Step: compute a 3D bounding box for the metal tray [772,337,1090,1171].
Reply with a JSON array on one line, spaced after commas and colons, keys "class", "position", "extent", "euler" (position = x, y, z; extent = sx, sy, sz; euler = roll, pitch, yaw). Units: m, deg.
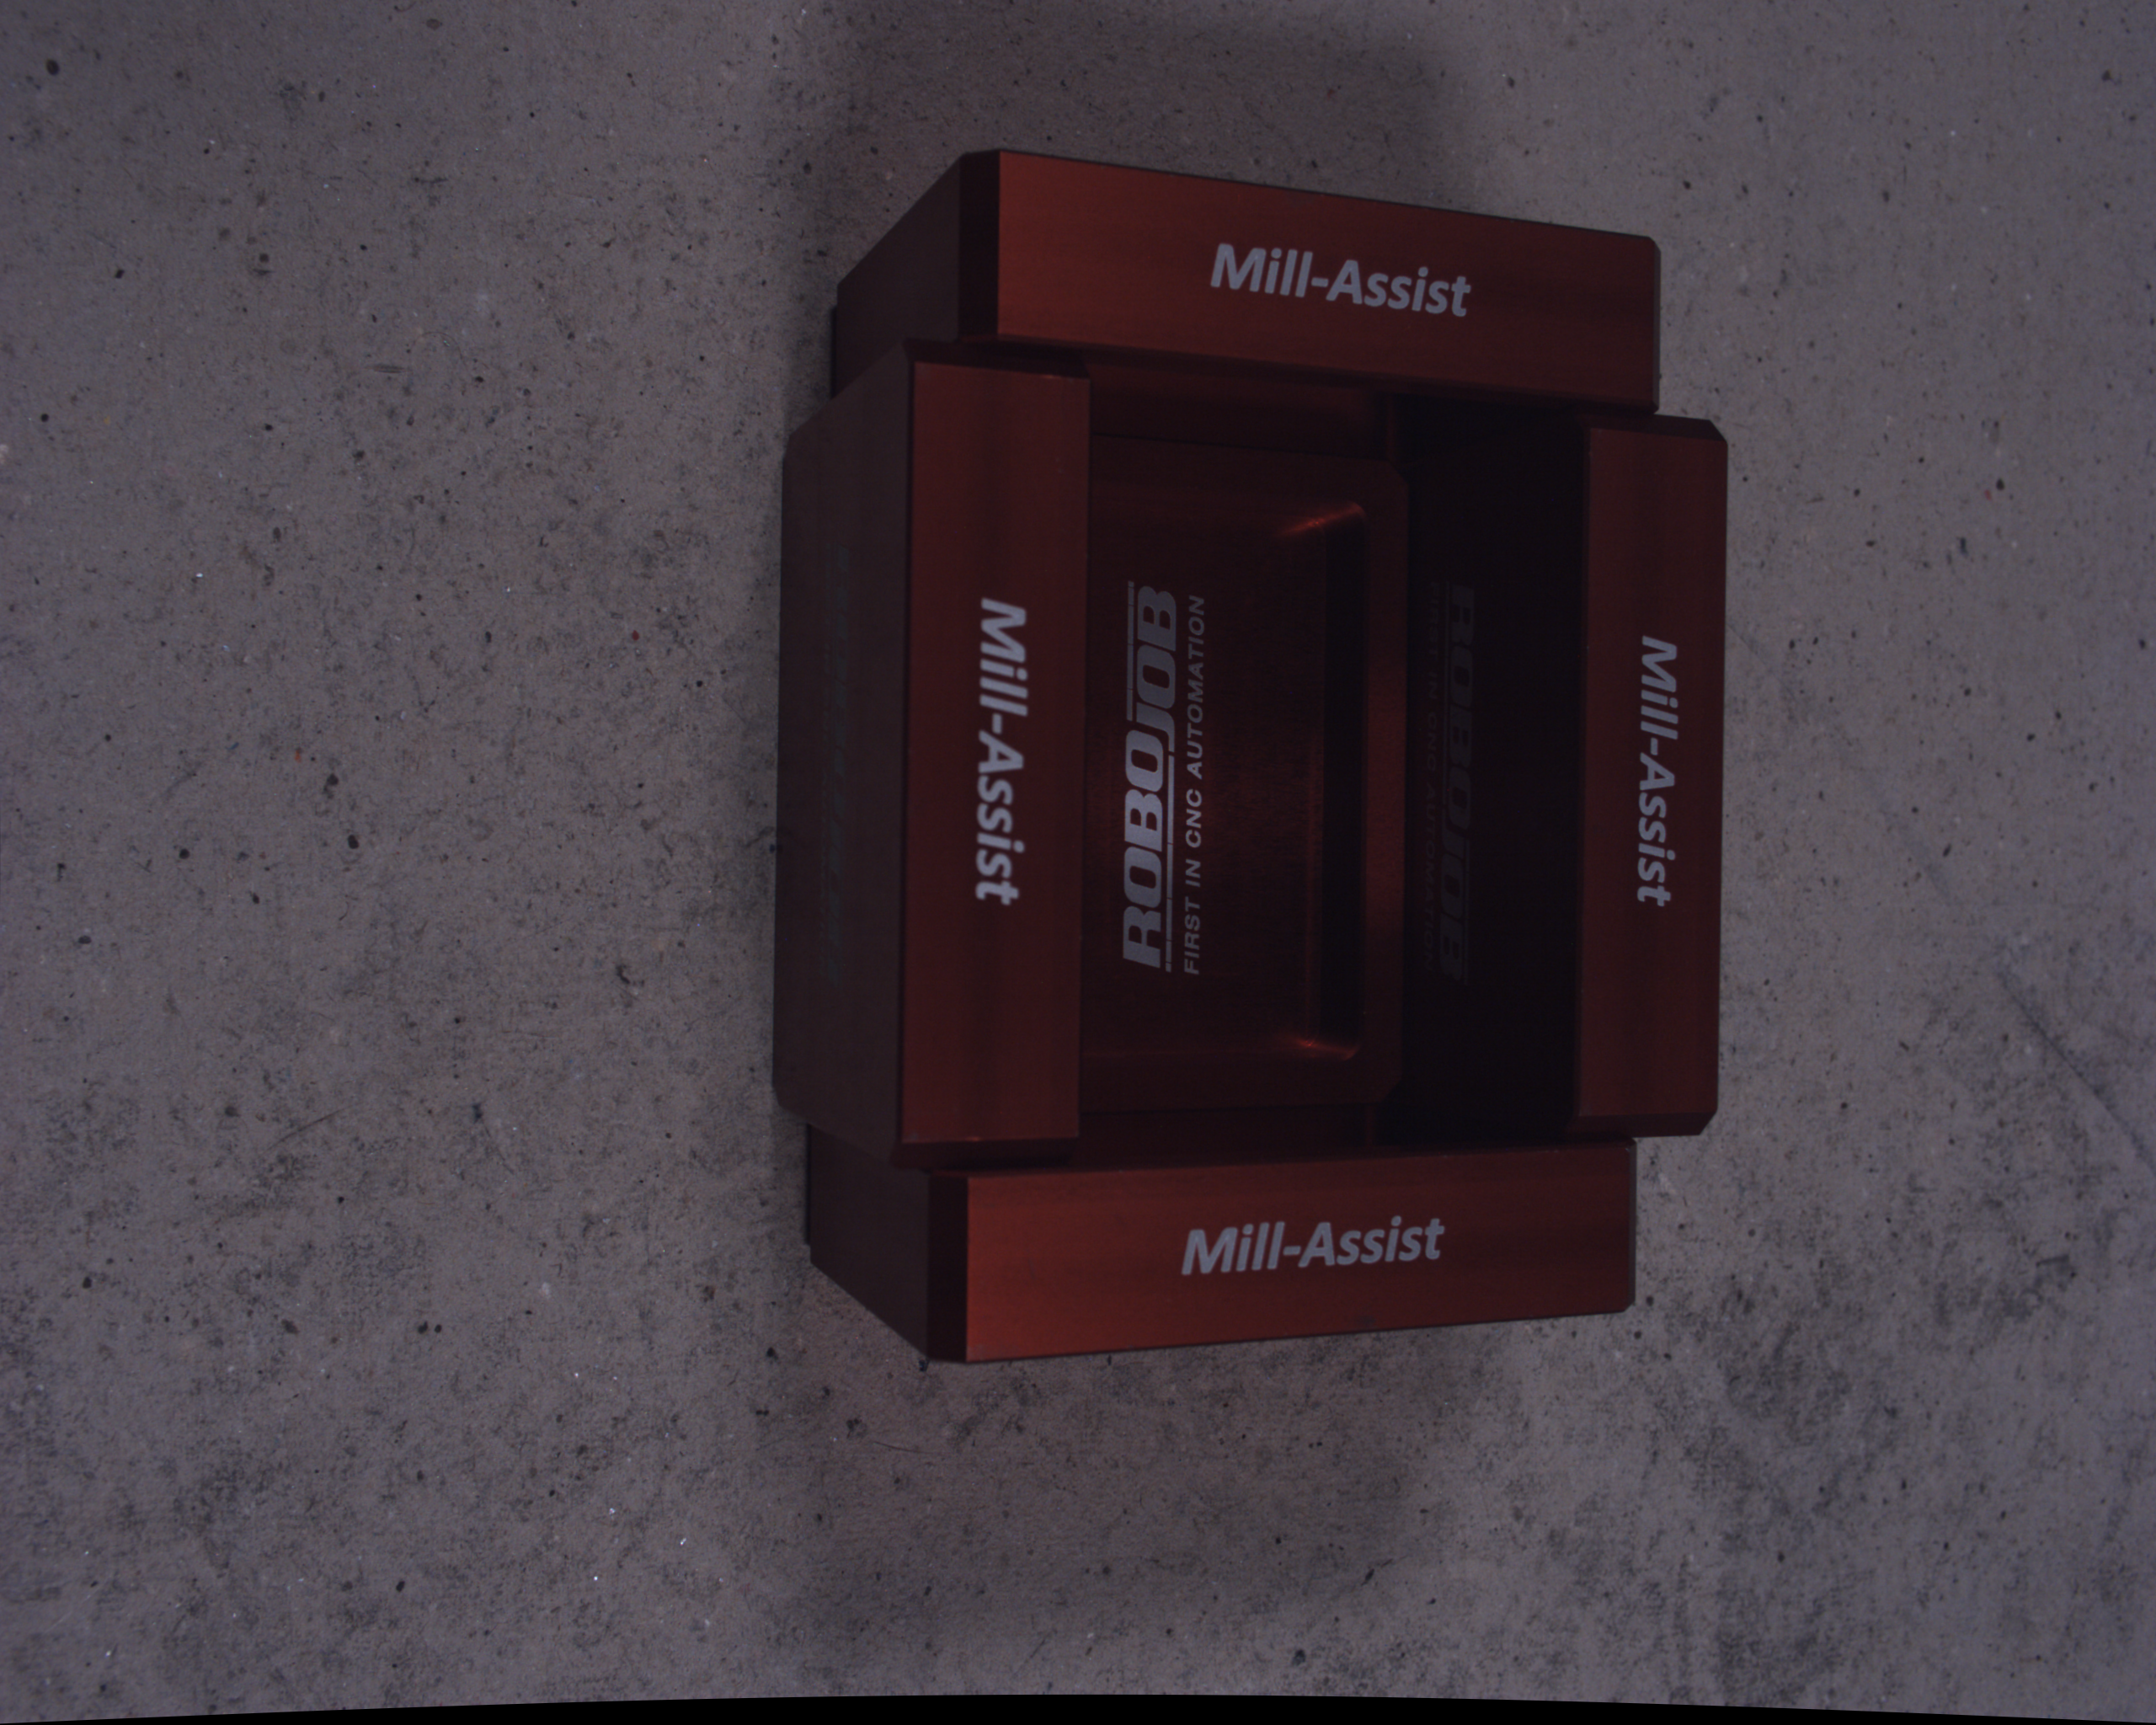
[{"class": "metal tray", "position": [-0.028, -0.017, 0.365], "extent": [0.030, 0.090, 0.129], "euler": [1, 90, -20]}]

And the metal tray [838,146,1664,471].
[{"class": "metal tray", "position": [0.029, -0.096, 0.387], "extent": [0.131, 0.090, 0.030], "euler": [1, 90, -20]}]

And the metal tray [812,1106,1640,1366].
[{"class": "metal tray", "position": [0.024, 0.064, 0.385], "extent": [0.131, 0.090, 0.030], "euler": [1, 90, -20]}]

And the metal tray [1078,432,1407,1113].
[{"class": "metal tray", "position": [0.018, -0.017, 0.415], "extent": [0.091, 0.030, 0.129], "euler": [1, 90, -21]}]

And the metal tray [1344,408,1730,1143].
[{"class": "metal tray", "position": [0.086, -0.015, 0.408], "extent": [0.030, 0.090, 0.129], "euler": [1, 90, -20]}]
